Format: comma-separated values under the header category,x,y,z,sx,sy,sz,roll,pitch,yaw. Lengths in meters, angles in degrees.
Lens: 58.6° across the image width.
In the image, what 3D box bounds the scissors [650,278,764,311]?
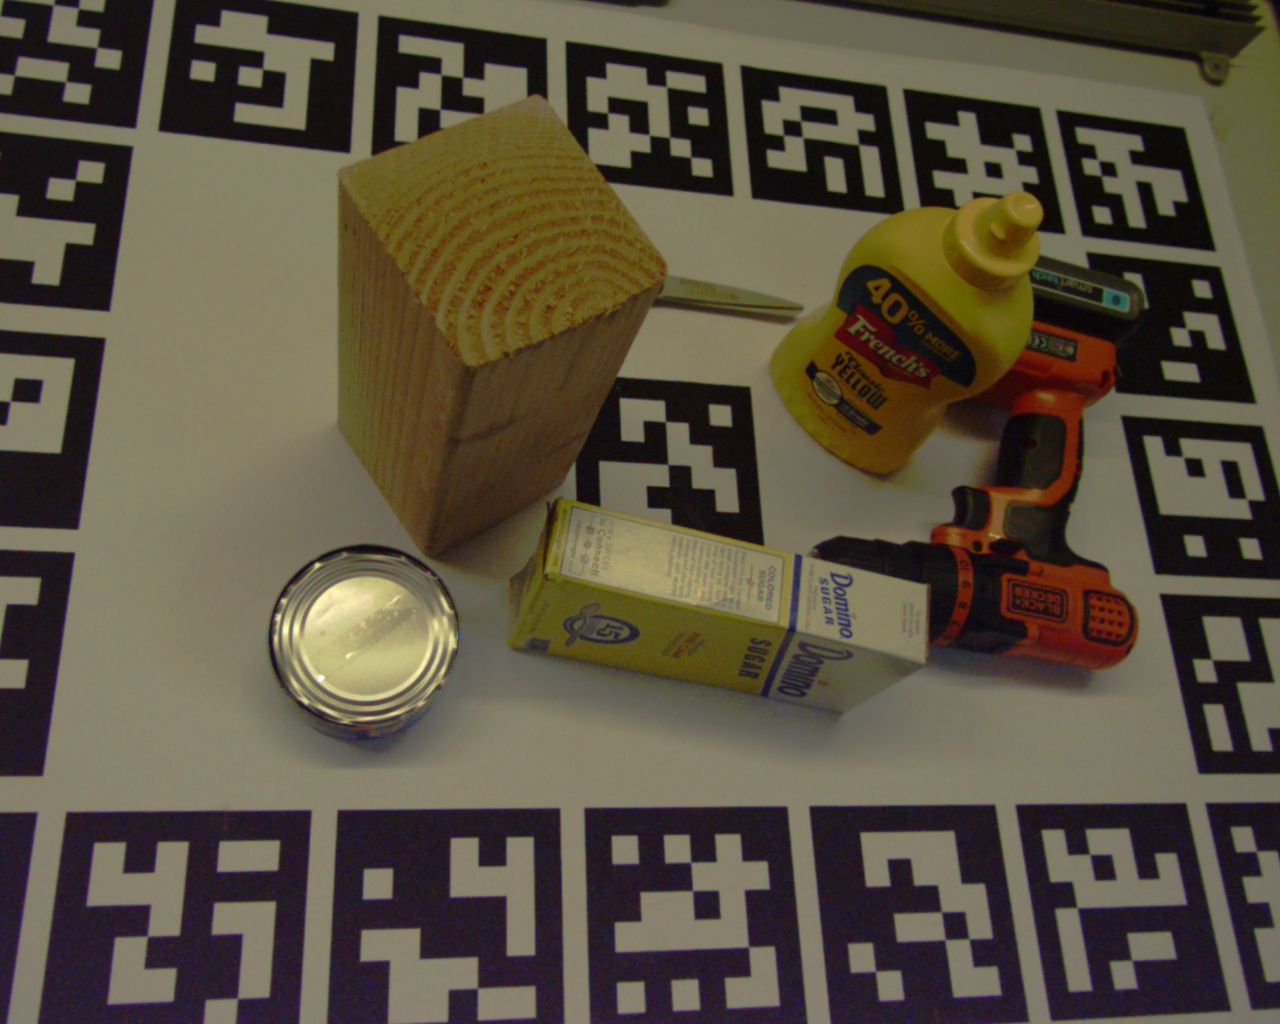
category,x,y,z,sx,sy,sz,roll,pitch,yaw
scissors,-0.024,-0.129,0.660,0.201,0.016,0.088,4,66,-12

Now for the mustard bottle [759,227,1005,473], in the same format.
category,x,y,z,sx,sy,sz,roll,pitch,yaw
mustard bottle,0.133,-0.092,0.598,0.058,0.192,0.096,-40,85,-22

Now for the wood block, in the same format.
category,x,y,z,sx,sy,sz,roll,pitch,yaw
wood block,-0.076,-0.065,0.531,0.090,0.207,0.090,-27,81,-21

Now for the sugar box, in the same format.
category,x,y,z,sx,sy,sz,roll,pitch,yaw
sugar box,0.037,0.050,0.570,0.175,0.093,0.045,14,65,-10

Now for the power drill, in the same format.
category,x,y,z,sx,sy,sz,roll,pitch,yaw
power drill,0.167,-0.023,0.645,0.184,0.057,0.187,14,75,-8

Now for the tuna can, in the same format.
category,x,y,z,sx,sy,sz,roll,pitch,yaw
tuna can,-0.129,0.060,0.553,0.085,0.034,0.086,4,70,-13
